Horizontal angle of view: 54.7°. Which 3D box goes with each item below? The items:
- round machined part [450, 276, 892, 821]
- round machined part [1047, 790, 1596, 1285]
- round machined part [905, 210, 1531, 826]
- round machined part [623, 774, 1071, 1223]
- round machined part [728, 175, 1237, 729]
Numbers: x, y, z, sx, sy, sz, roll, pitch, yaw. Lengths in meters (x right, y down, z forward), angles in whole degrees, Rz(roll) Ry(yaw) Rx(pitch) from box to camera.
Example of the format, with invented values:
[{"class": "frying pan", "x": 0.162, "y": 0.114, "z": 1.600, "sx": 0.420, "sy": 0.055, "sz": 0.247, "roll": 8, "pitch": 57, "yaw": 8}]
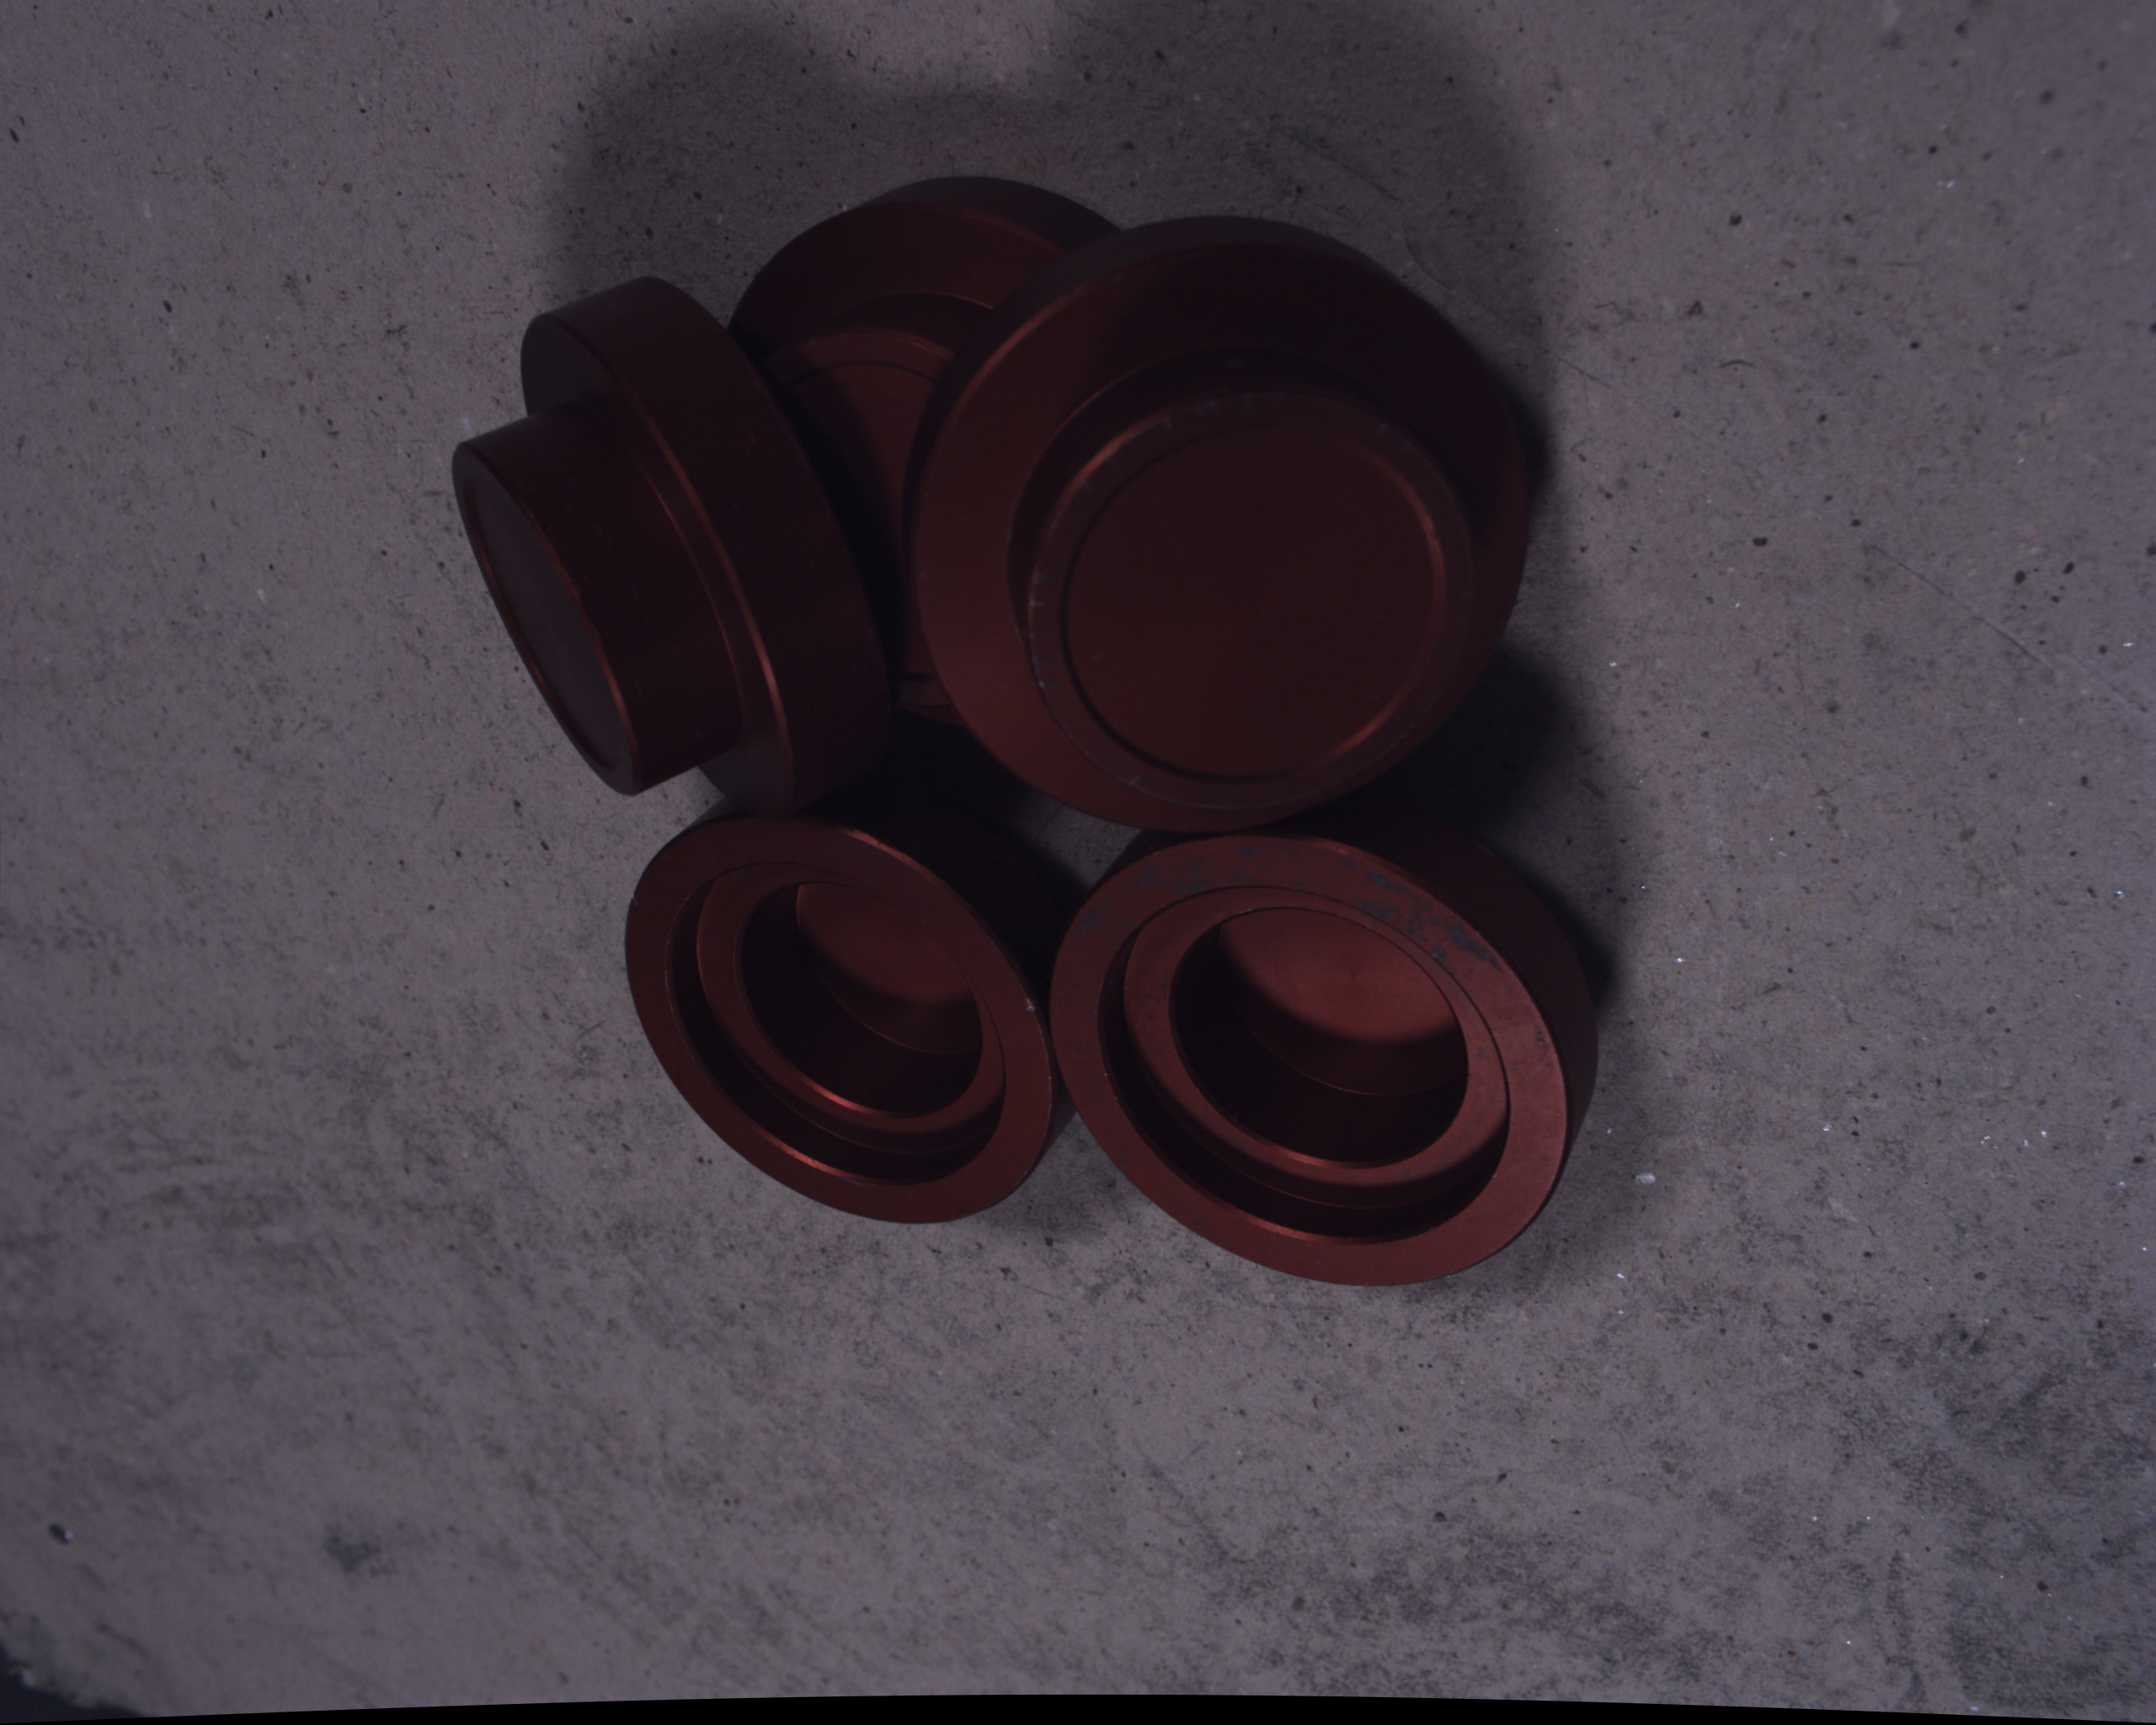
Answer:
[{"class": "round machined part", "x": -0.077, "y": -0.051, "z": 0.374, "sx": 0.098, "sy": 0.042, "sz": 0.097, "roll": 47, "pitch": 154, "yaw": 32}, {"class": "round machined part", "x": 0.047, "y": 0.027, "z": 0.388, "sx": 0.098, "sy": 0.042, "sz": 0.097, "roll": 13, "pitch": 124, "yaw": 20}, {"class": "round machined part", "x": 0.023, "y": -0.048, "z": 0.326, "sx": 0.099, "sy": 0.042, "sz": 0.097, "roll": -4, "pitch": 120, "yaw": -6}, {"class": "round machined part", "x": -0.041, "y": 0.023, "z": 0.431, "sx": 0.098, "sy": 0.042, "sz": 0.097, "roll": 13, "pitch": 124, "yaw": 20}, {"class": "round machined part", "x": -0.024, "y": -0.066, "z": 0.367, "sx": 0.098, "sy": 0.042, "sz": 0.097, "roll": 13, "pitch": 124, "yaw": 20}]
